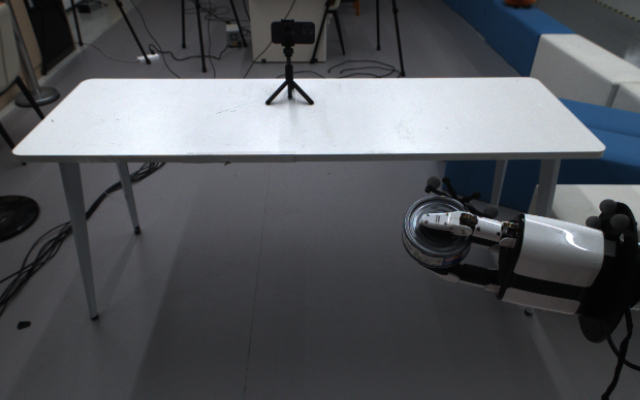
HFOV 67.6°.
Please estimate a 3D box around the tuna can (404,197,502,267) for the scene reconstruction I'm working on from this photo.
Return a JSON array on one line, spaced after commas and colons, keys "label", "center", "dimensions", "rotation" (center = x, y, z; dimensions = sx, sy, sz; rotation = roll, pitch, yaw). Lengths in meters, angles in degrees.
[{"label": "tuna can", "center": [0.148, 0.043, 0.587], "dimensions": [0.085, 0.034, 0.085], "rotation": [-4, 58, 6]}]
